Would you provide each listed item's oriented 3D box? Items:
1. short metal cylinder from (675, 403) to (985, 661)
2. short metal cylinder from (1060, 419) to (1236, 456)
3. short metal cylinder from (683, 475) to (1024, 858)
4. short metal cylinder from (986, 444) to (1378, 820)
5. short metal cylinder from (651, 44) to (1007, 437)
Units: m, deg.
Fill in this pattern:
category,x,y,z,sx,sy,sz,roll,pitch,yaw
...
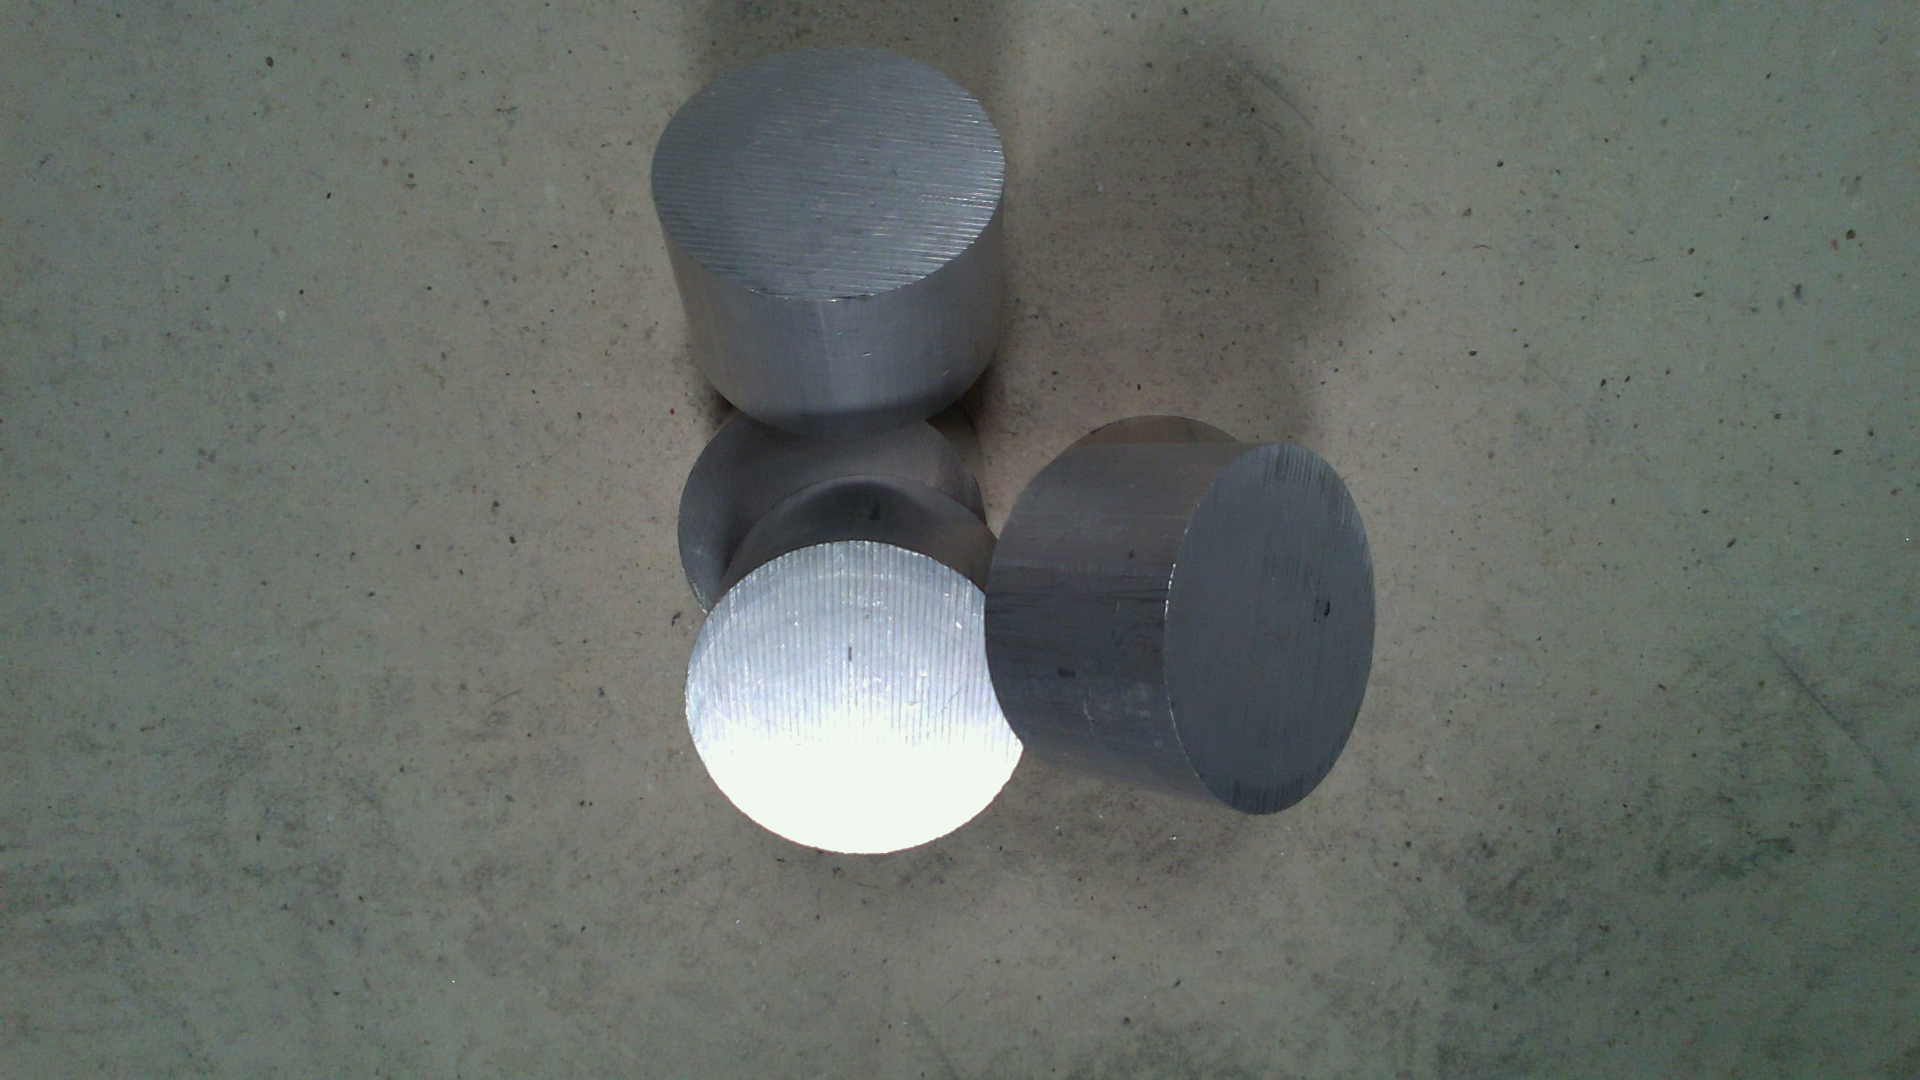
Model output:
category,x,y,z,sx,sy,sz,roll,pitch,yaw
short metal cylinder,-0.033,-0.008,0.377,0.080,0.050,0.080,0,110,0
short metal cylinder,0.057,0.011,0.384,0.080,0.050,0.080,0,110,0
short metal cylinder,-0.023,0.030,0.338,0.080,0.050,0.080,0,110,0
short metal cylinder,0.052,0.019,0.311,0.050,0.080,0.080,3,118,45
short metal cylinder,-0.029,-0.072,0.331,0.080,0.080,0.050,0,149,0
